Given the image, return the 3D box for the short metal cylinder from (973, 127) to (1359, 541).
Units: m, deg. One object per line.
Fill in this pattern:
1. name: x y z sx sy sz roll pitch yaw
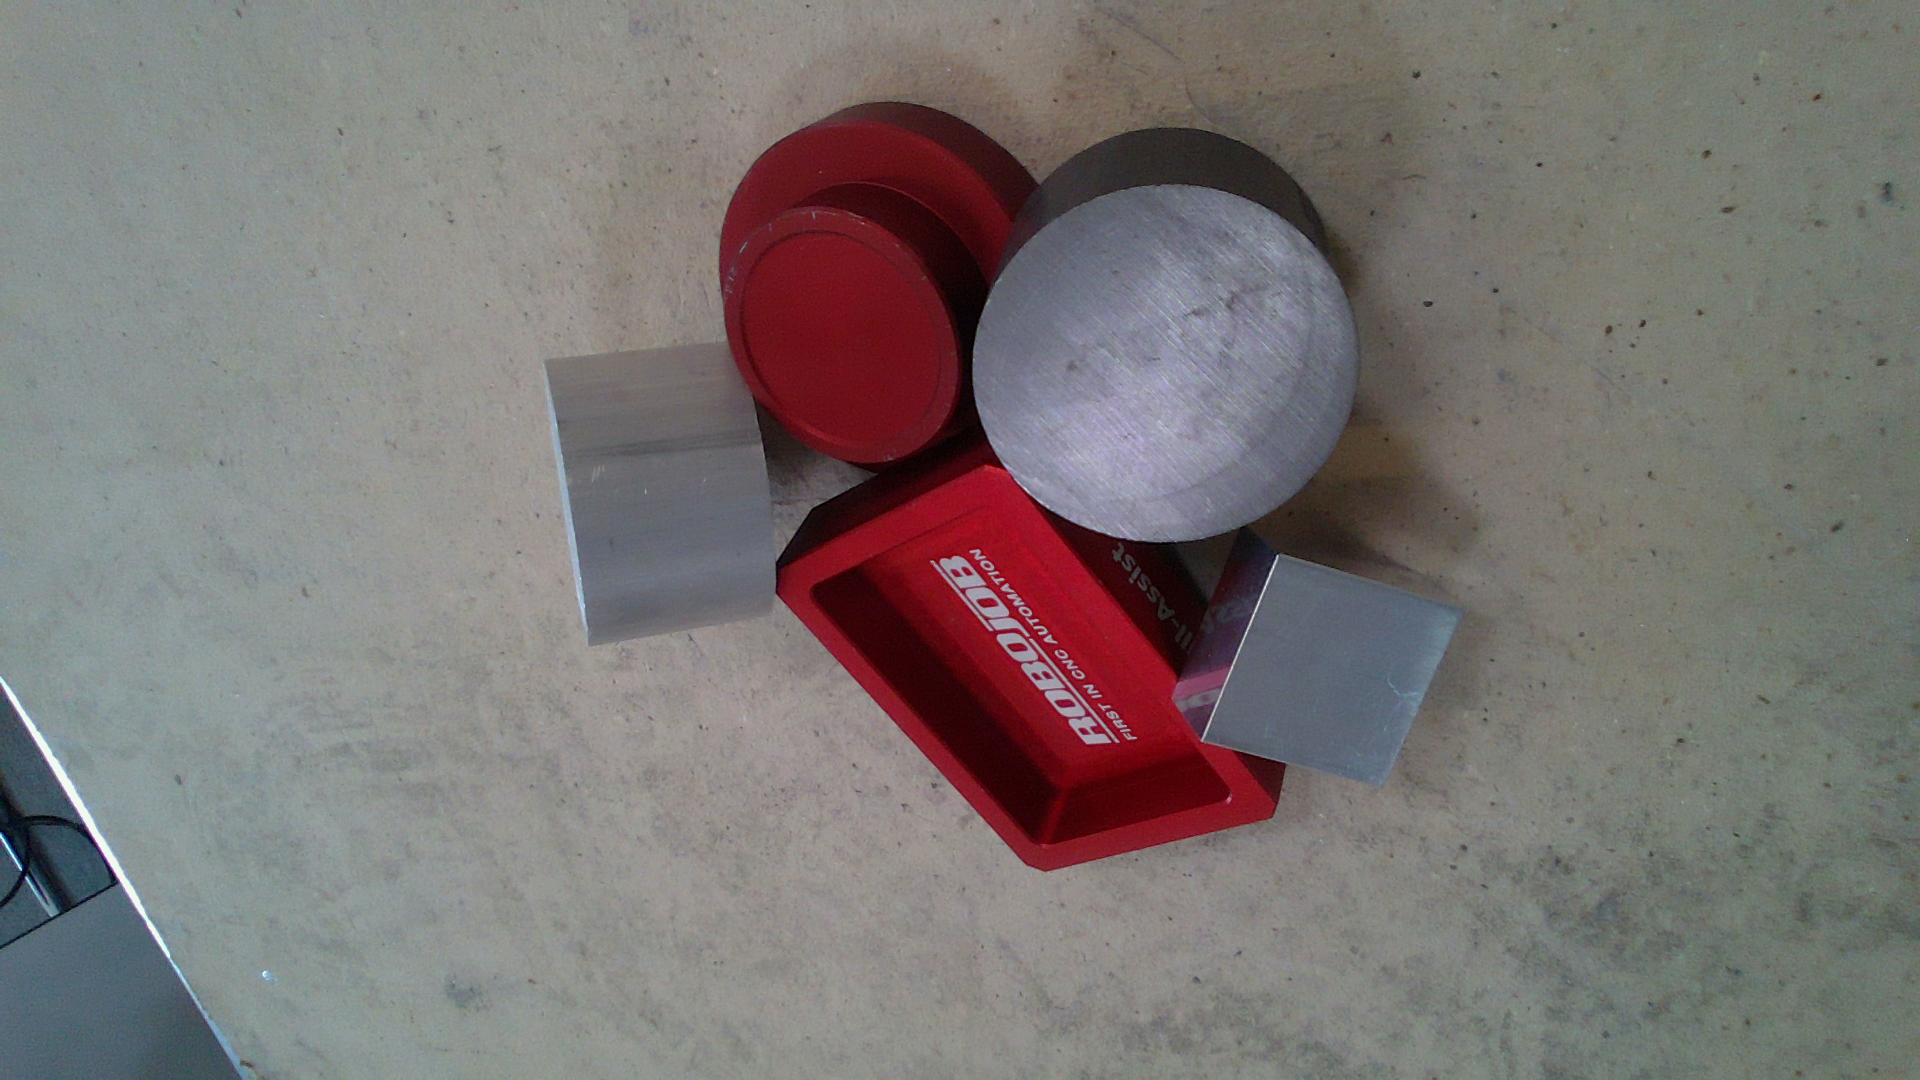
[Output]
1. short metal cylinder: 0.046 -0.047 0.310 0.080 0.050 0.080 3 119 6

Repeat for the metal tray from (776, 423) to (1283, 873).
1. metal tray: 0.020 0.033 0.385 0.090 0.030 0.130 -24 115 37

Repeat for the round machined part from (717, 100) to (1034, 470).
1. round machined part: -0.022 -0.060 0.358 0.098 0.042 0.098 13 124 21

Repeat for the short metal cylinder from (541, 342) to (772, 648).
1. short metal cylinder: -0.086 -0.013 0.387 0.050 0.080 0.080 -9 124 -17

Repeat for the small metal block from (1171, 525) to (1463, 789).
1. small metal block: 0.087 0.028 0.341 0.050 0.025 0.050 16 105 -14
